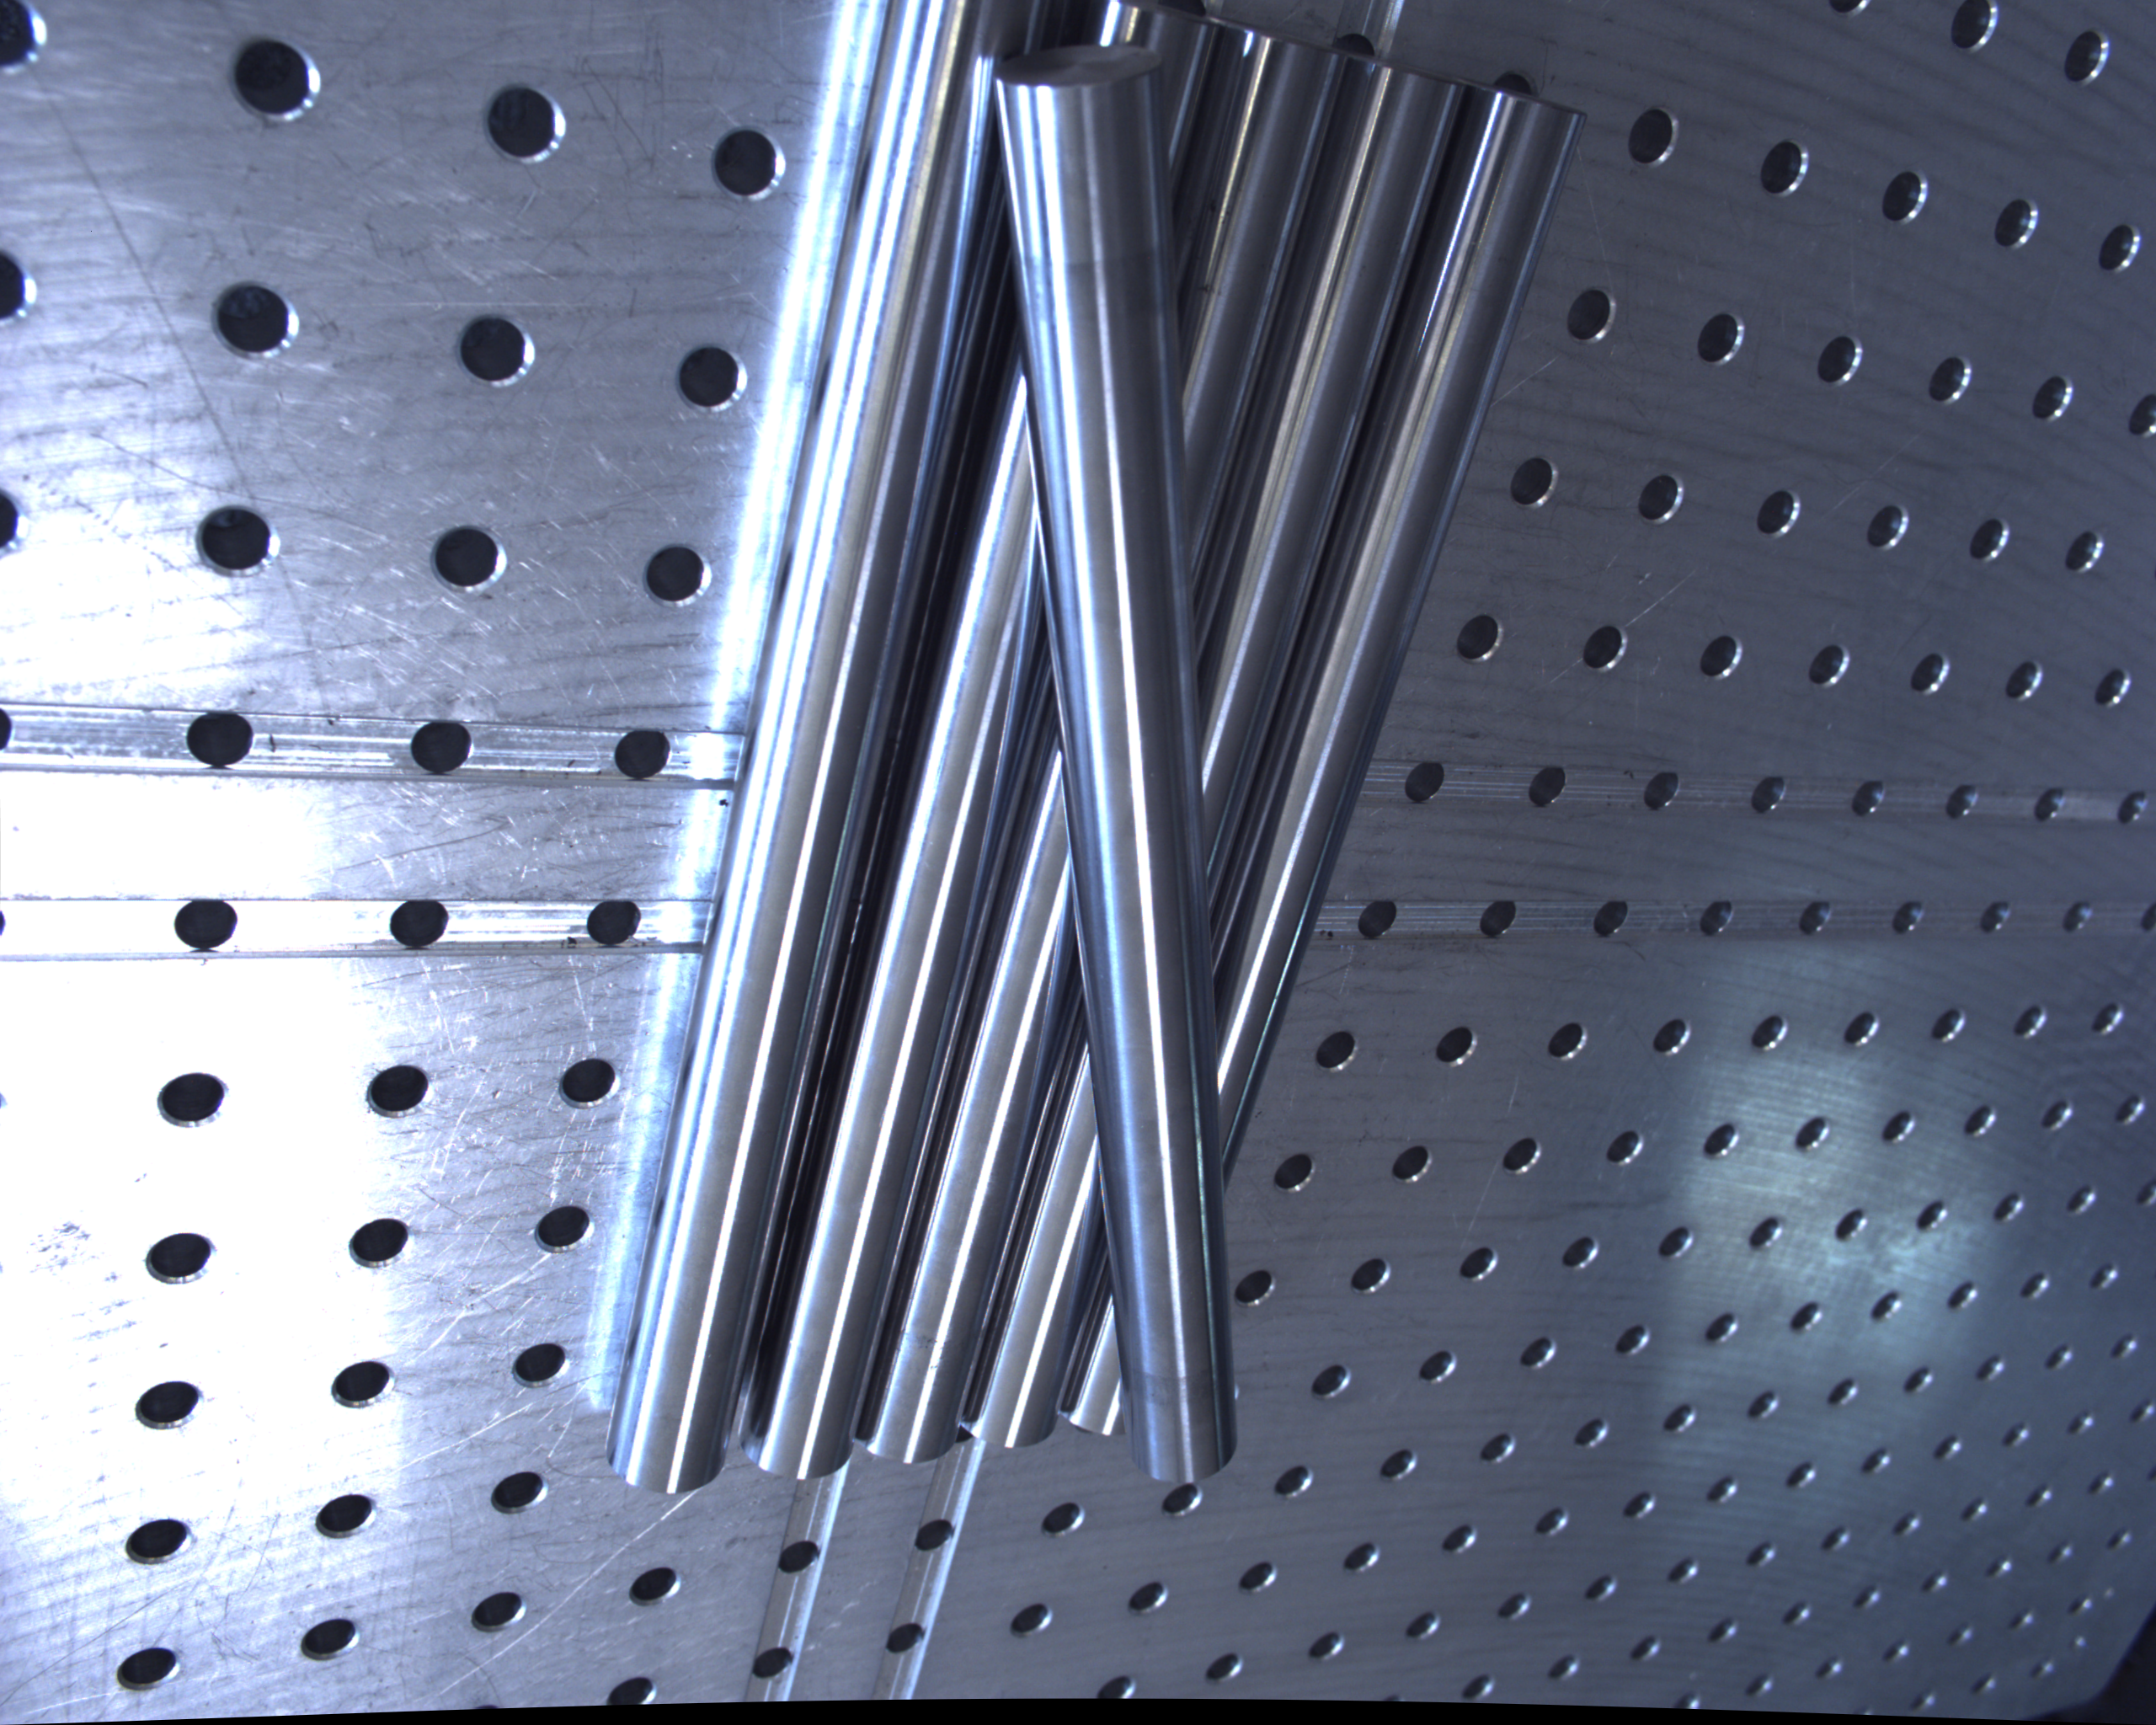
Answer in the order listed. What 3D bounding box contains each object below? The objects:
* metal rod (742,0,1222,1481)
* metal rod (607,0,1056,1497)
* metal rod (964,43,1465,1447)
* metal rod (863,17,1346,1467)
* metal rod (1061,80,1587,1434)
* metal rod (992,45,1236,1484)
[{"bbox_3d":[-0.025,-0.005,0.392,0.025,0.025,0.298,1,118,-29],"label":"metal rod"},{"bbox_3d":[-0.051,-0.007,0.378,0.025,0.025,0.298,1,118,-29],"label":"metal rod"},{"bbox_3d":[0.018,-0.006,0.418,0.025,0.025,0.298,1,118,-29],"label":"metal rod"},{"bbox_3d":[-0.004,-0.005,0.404,0.025,0.025,0.298,1,118,-29],"label":"metal rod"},{"bbox_3d":[0.041,-0.005,0.430,0.025,0.025,0.298,1,118,-29],"label":"metal rod"},{"bbox_3d":[0.012,0.007,0.388,0.025,0.025,0.298,-18,126,-18],"label":"metal rod"}]
